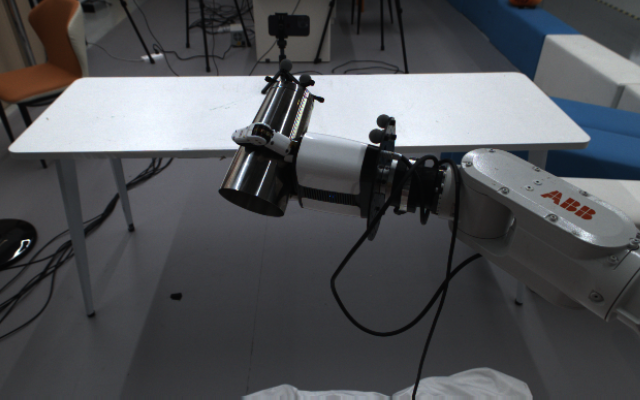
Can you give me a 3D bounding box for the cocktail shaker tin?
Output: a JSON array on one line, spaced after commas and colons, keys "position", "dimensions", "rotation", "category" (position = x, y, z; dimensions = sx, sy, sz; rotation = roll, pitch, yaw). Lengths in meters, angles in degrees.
[{"position": [-0.065, -0.072, 0.658], "dimensions": [0.093, 0.093, 0.170], "rotation": [14, 73, 17], "category": "cocktail shaker tin"}]
